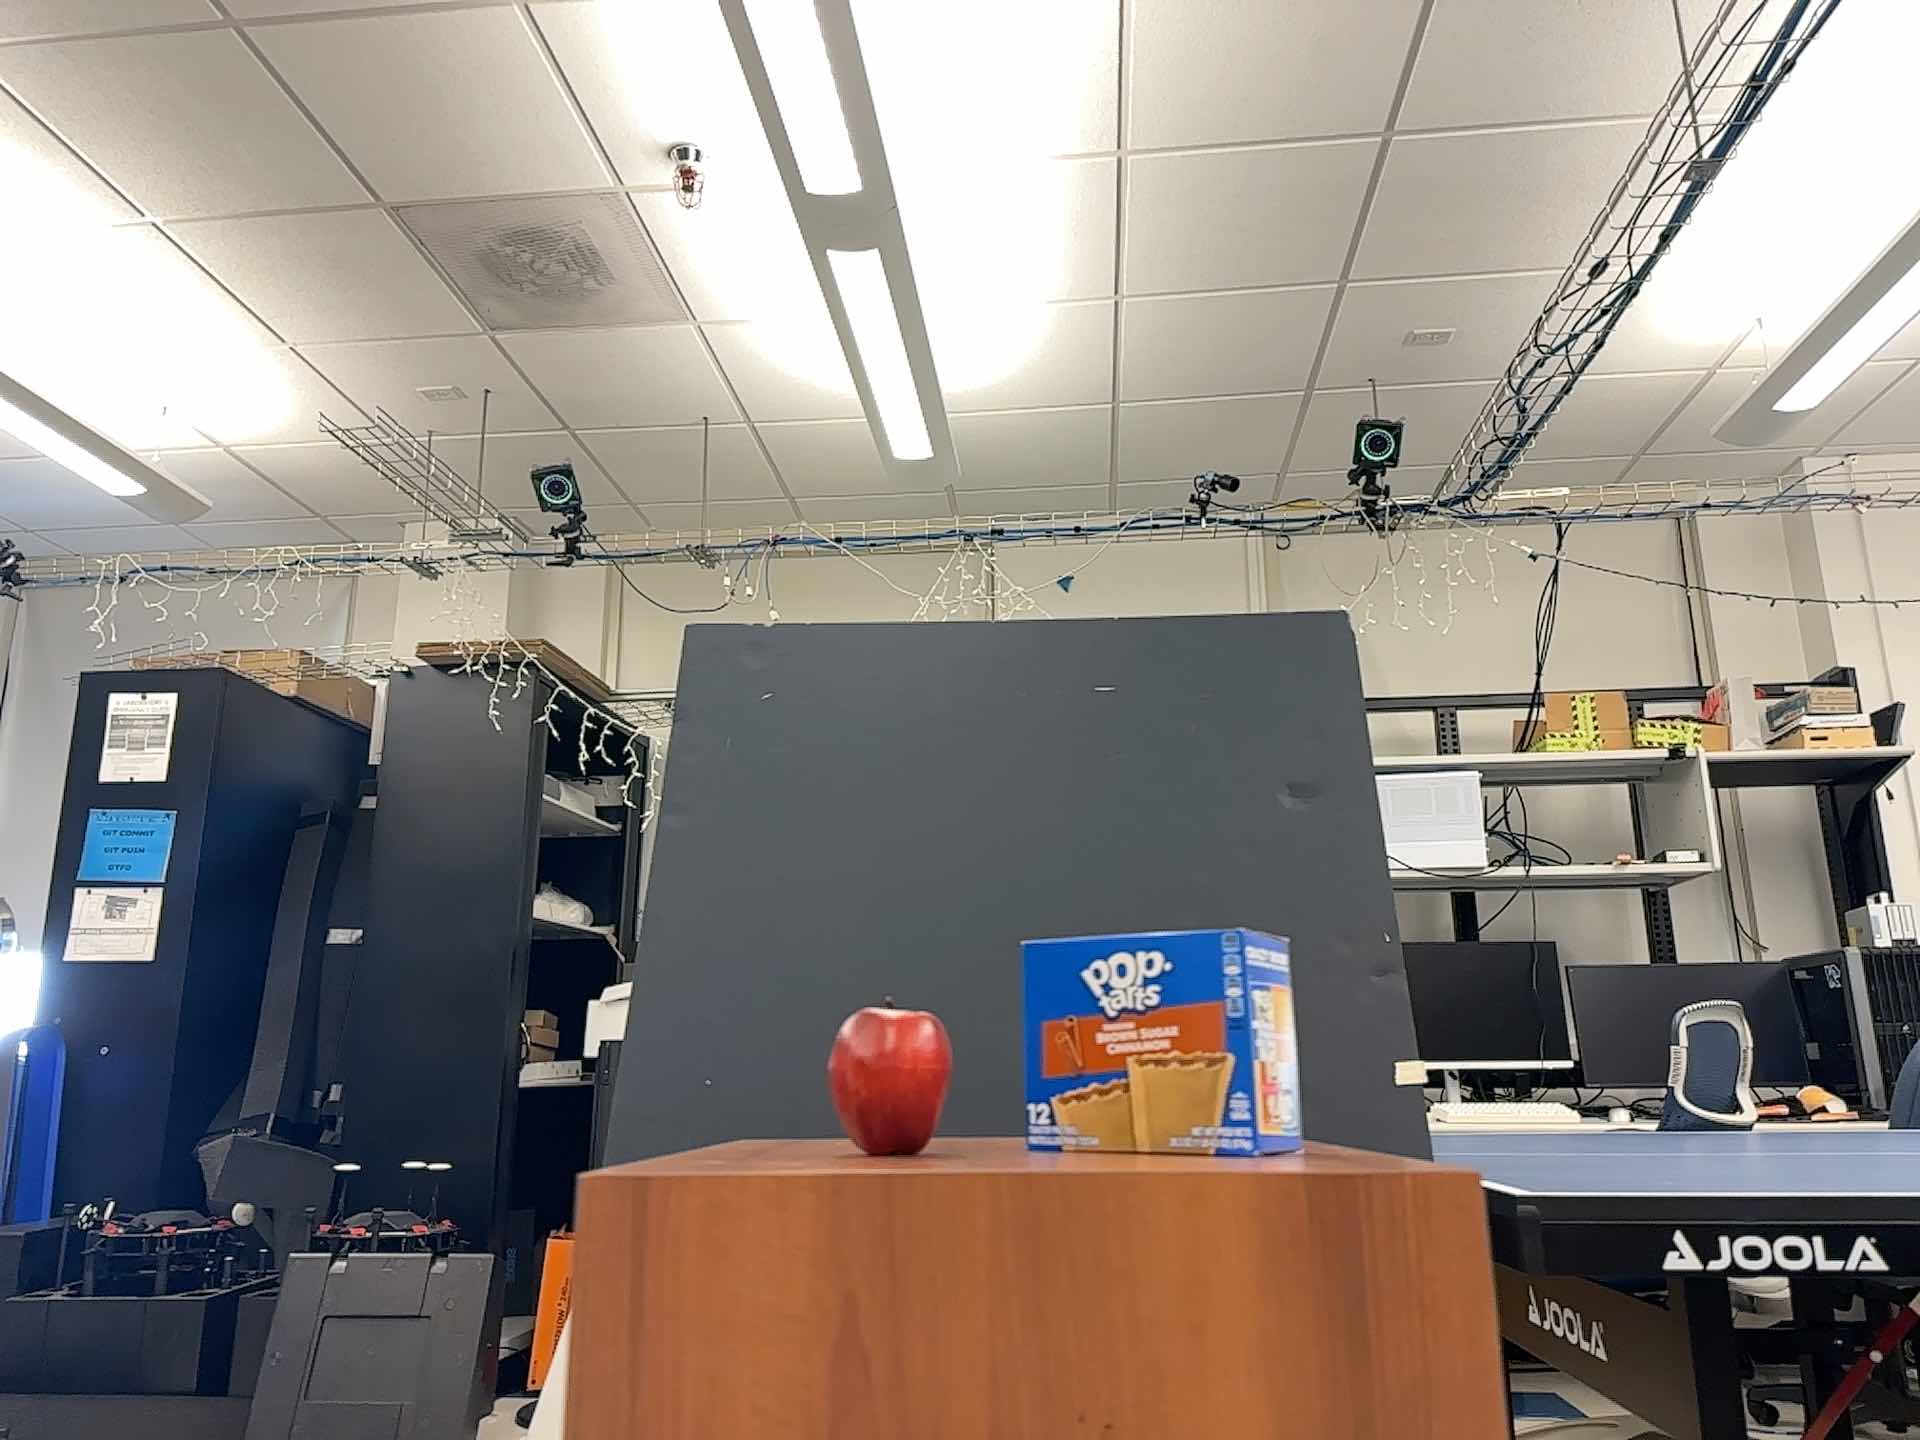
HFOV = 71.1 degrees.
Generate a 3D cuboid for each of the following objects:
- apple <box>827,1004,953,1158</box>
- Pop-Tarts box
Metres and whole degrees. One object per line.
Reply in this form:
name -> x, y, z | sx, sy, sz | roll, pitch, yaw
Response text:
apple -> -0.045, 0.228, 0.854 | 0.079, 0.093, 0.079 | 1, -14, 0
Pop-Tarts box -> 0.135, 0.220, 0.903 | 0.161, 0.135, 0.075 | -10, -19, 33
